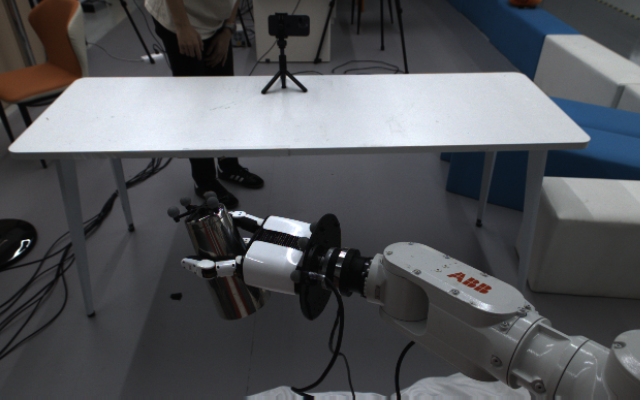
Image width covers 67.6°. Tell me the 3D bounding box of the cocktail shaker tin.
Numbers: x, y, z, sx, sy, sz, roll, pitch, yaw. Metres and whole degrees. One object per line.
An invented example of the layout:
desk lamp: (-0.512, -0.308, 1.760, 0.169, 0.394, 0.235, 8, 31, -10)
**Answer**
cocktail shaker tin: (-0.151, 0.095, 0.768, 0.093, 0.170, 0.093, -17, 21, 7)
